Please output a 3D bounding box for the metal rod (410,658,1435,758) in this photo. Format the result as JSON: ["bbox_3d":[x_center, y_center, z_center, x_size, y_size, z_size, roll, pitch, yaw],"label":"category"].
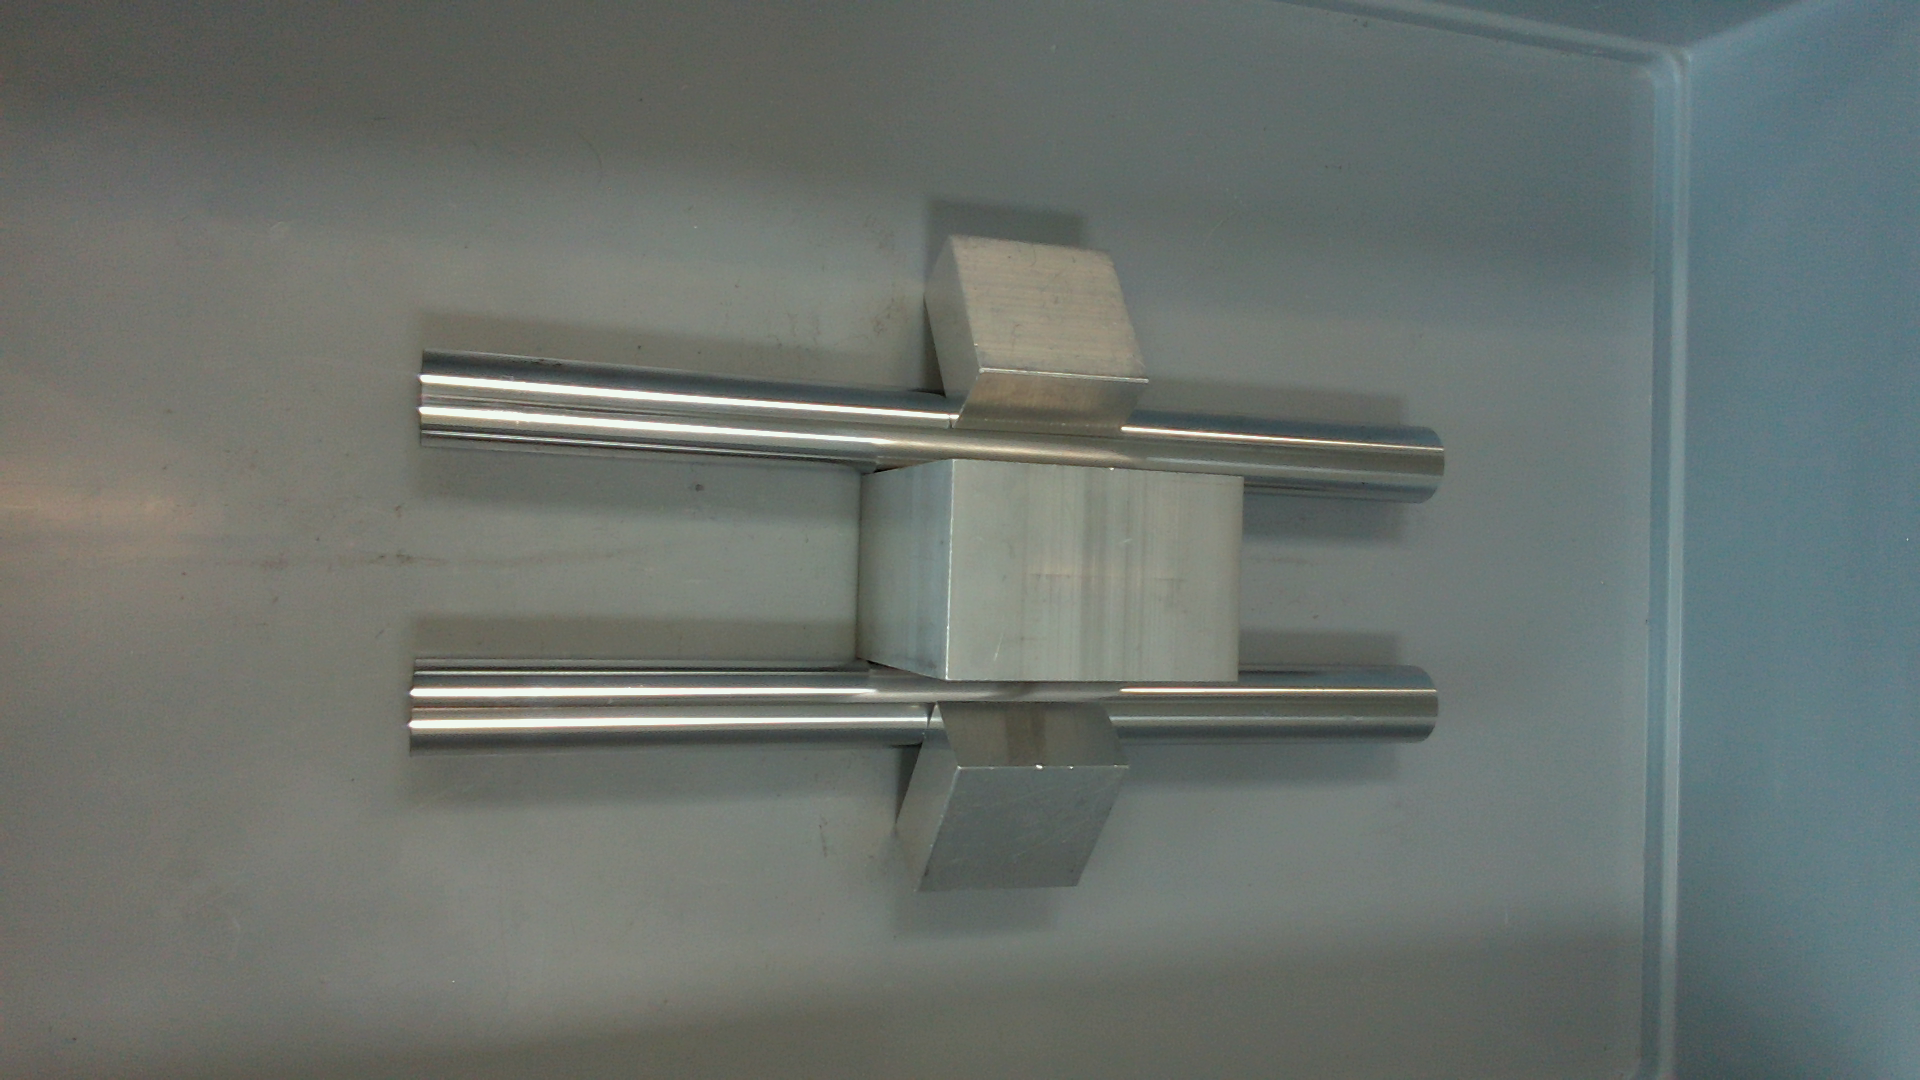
[{"bbox_3d":[0.005,0.047,0.394,0.301,0.025,0.025,2,89,-20],"label":"metal rod"}]

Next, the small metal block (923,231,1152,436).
[{"bbox_3d":[0.021,-0.058,0.387,0.050,0.025,0.050,1,55,-20],"label":"small metal block"}]

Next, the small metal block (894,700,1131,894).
[{"bbox_3d":[0.013,0.072,0.385,0.050,0.025,0.050,3,127,-20],"label":"small metal block"}]

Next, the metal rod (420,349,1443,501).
[{"bbox_3d":[0.007,-0.030,0.394,0.301,0.025,0.025,2,89,-20],"label":"metal rod"}]

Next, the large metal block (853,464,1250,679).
[{"bbox_3d":[0.021,0.008,0.370,0.080,0.080,0.050,2,89,-20],"label":"large metal block"}]
